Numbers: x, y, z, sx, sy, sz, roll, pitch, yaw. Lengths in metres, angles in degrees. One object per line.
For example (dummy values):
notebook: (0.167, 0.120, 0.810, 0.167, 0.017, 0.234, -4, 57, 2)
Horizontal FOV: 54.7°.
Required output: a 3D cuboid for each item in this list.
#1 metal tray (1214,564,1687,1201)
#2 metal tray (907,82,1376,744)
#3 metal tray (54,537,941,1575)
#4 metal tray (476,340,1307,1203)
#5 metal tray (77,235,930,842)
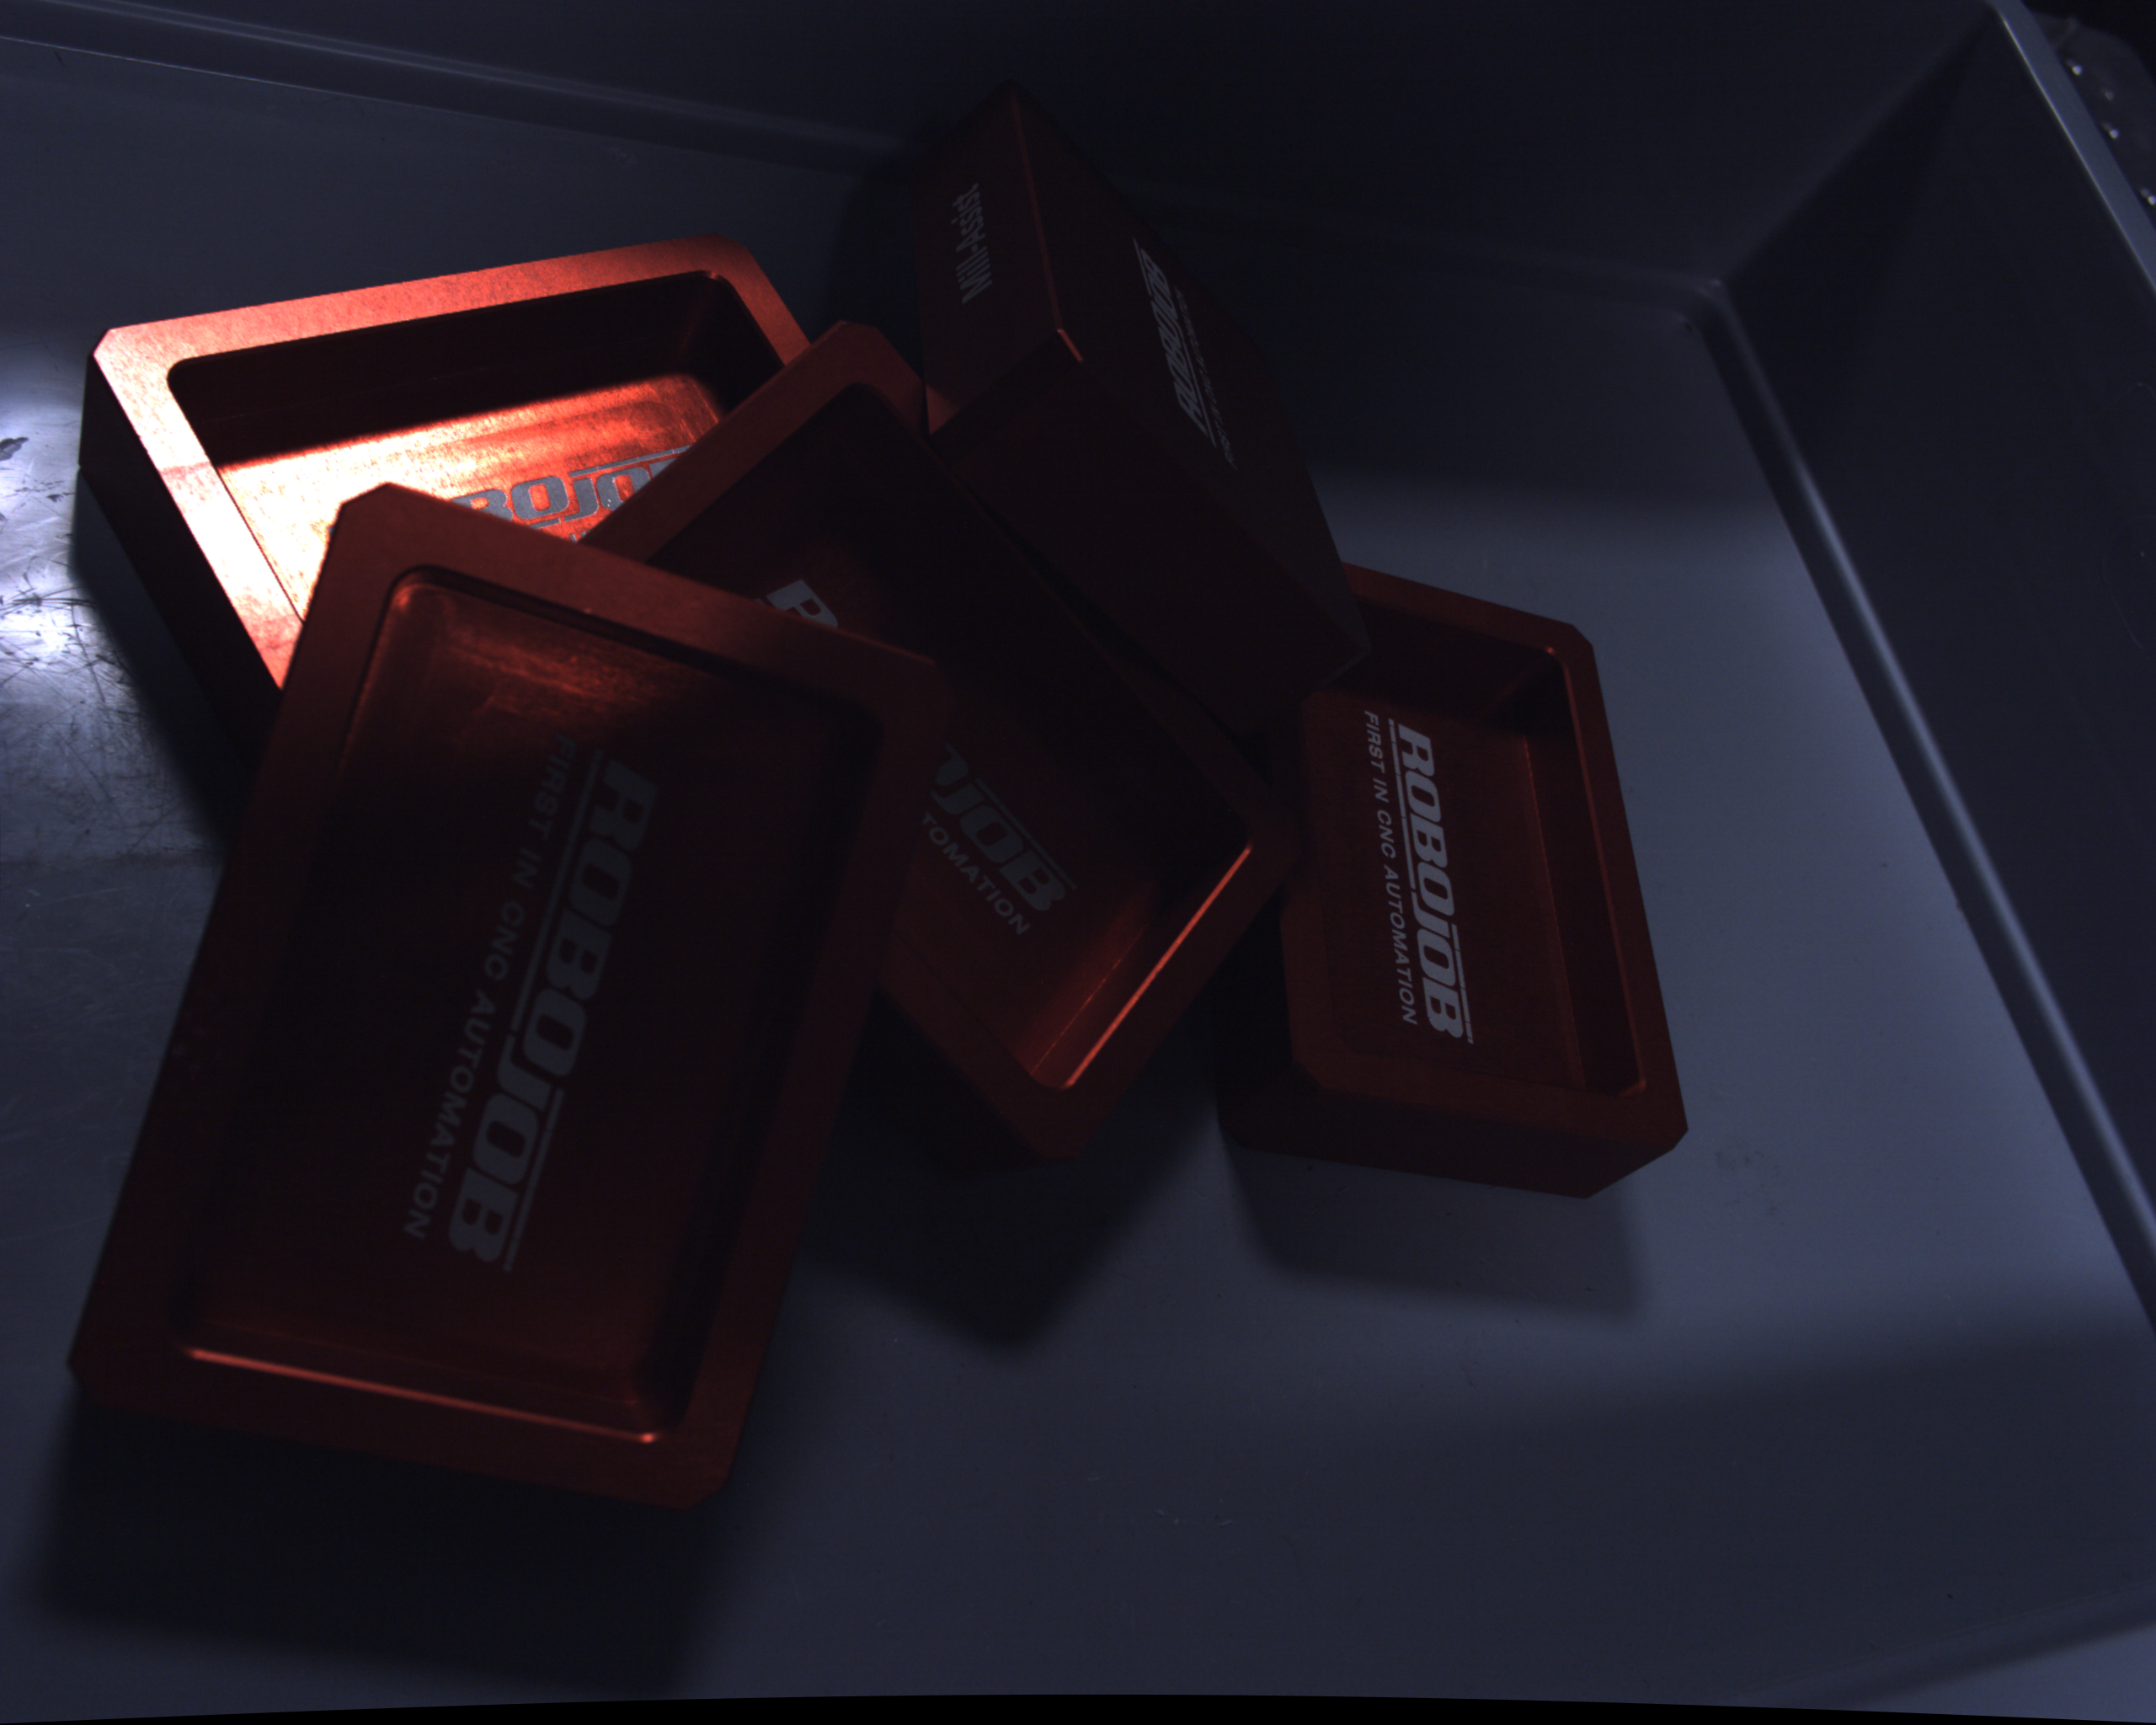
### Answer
metal tray: (0.073, 0.001, 0.441, 0.091, 0.030, 0.130, 12, 57, -22)
metal tray: (0.010, -0.093, 0.420, 0.090, 0.030, 0.130, 38, 27, -32)
metal tray: (-0.081, 0.029, 0.303, 0.091, 0.030, 0.129, 16, 84, -19)
metal tray: (-0.028, -0.015, 0.368, 0.130, 0.030, 0.090, 48, 56, -14)
metal tray: (-0.101, -0.065, 0.386, 0.131, 0.030, 0.090, -23, 74, -36)
